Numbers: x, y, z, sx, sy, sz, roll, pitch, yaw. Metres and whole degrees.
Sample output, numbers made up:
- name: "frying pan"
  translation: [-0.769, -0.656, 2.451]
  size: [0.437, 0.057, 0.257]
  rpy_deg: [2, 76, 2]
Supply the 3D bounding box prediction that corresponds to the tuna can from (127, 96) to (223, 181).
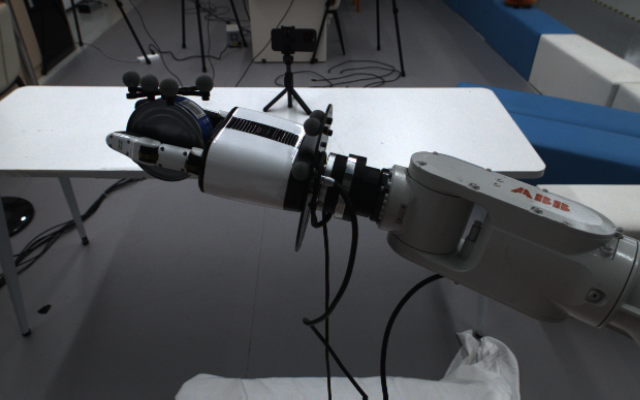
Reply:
- name: "tuna can"
  translation: [-0.154, -0.066, 0.508]
  size: [0.085, 0.085, 0.034]
  rpy_deg: [9, 22, 9]
